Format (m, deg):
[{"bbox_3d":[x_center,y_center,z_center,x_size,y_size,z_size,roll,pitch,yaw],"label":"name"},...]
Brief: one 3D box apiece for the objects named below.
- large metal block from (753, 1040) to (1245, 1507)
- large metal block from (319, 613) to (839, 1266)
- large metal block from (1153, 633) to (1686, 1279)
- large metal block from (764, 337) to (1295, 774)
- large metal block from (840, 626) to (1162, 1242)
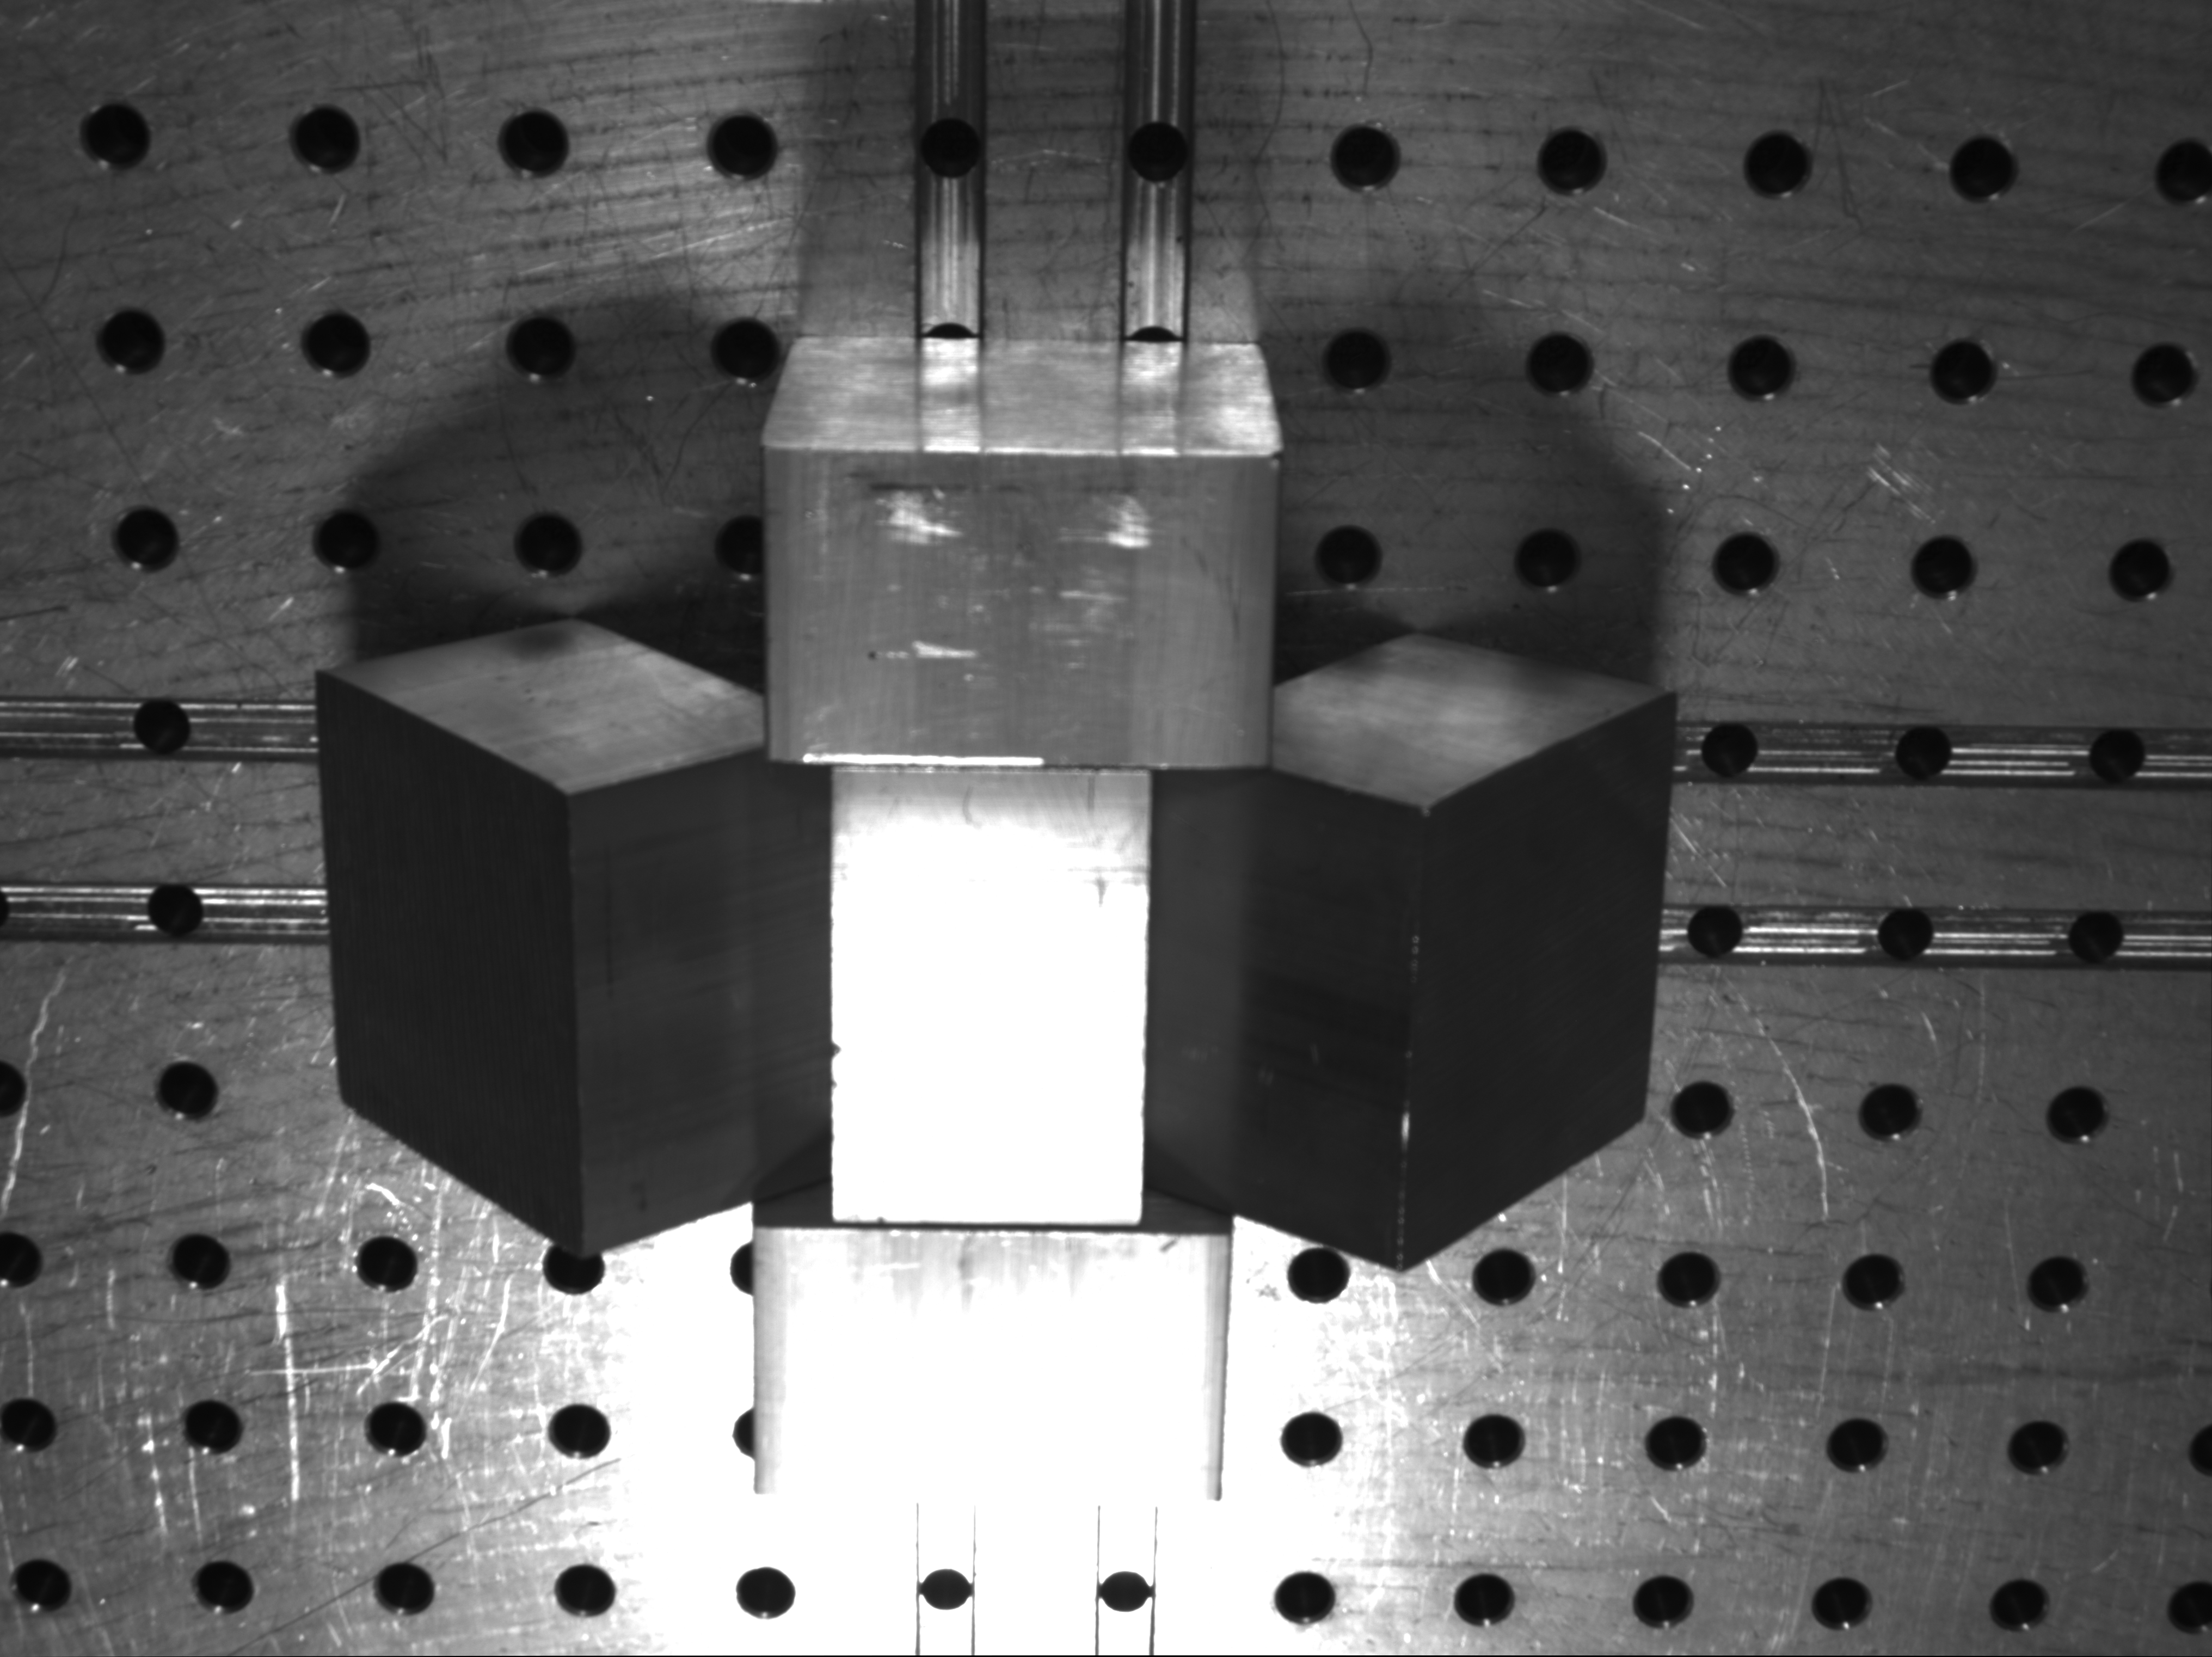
[{"bbox_3d":[-0.018,0.076,0.643,0.080,0.080,0.050,1,110,-1],"label":"large metal block"},{"bbox_3d":[-0.088,0.016,0.614,0.050,0.080,0.080,-15,116,-37],"label":"large metal block"},{"bbox_3d":[0.053,0.019,0.615,0.050,0.080,0.080,15,114,34],"label":"large metal block"},{"bbox_3d":[-0.012,-0.046,0.598,0.080,0.080,0.050,1,110,-1],"label":"large metal block"},{"bbox_3d":[-0.017,0.016,0.621,0.050,0.080,0.080,1,110,-1],"label":"large metal block"}]
